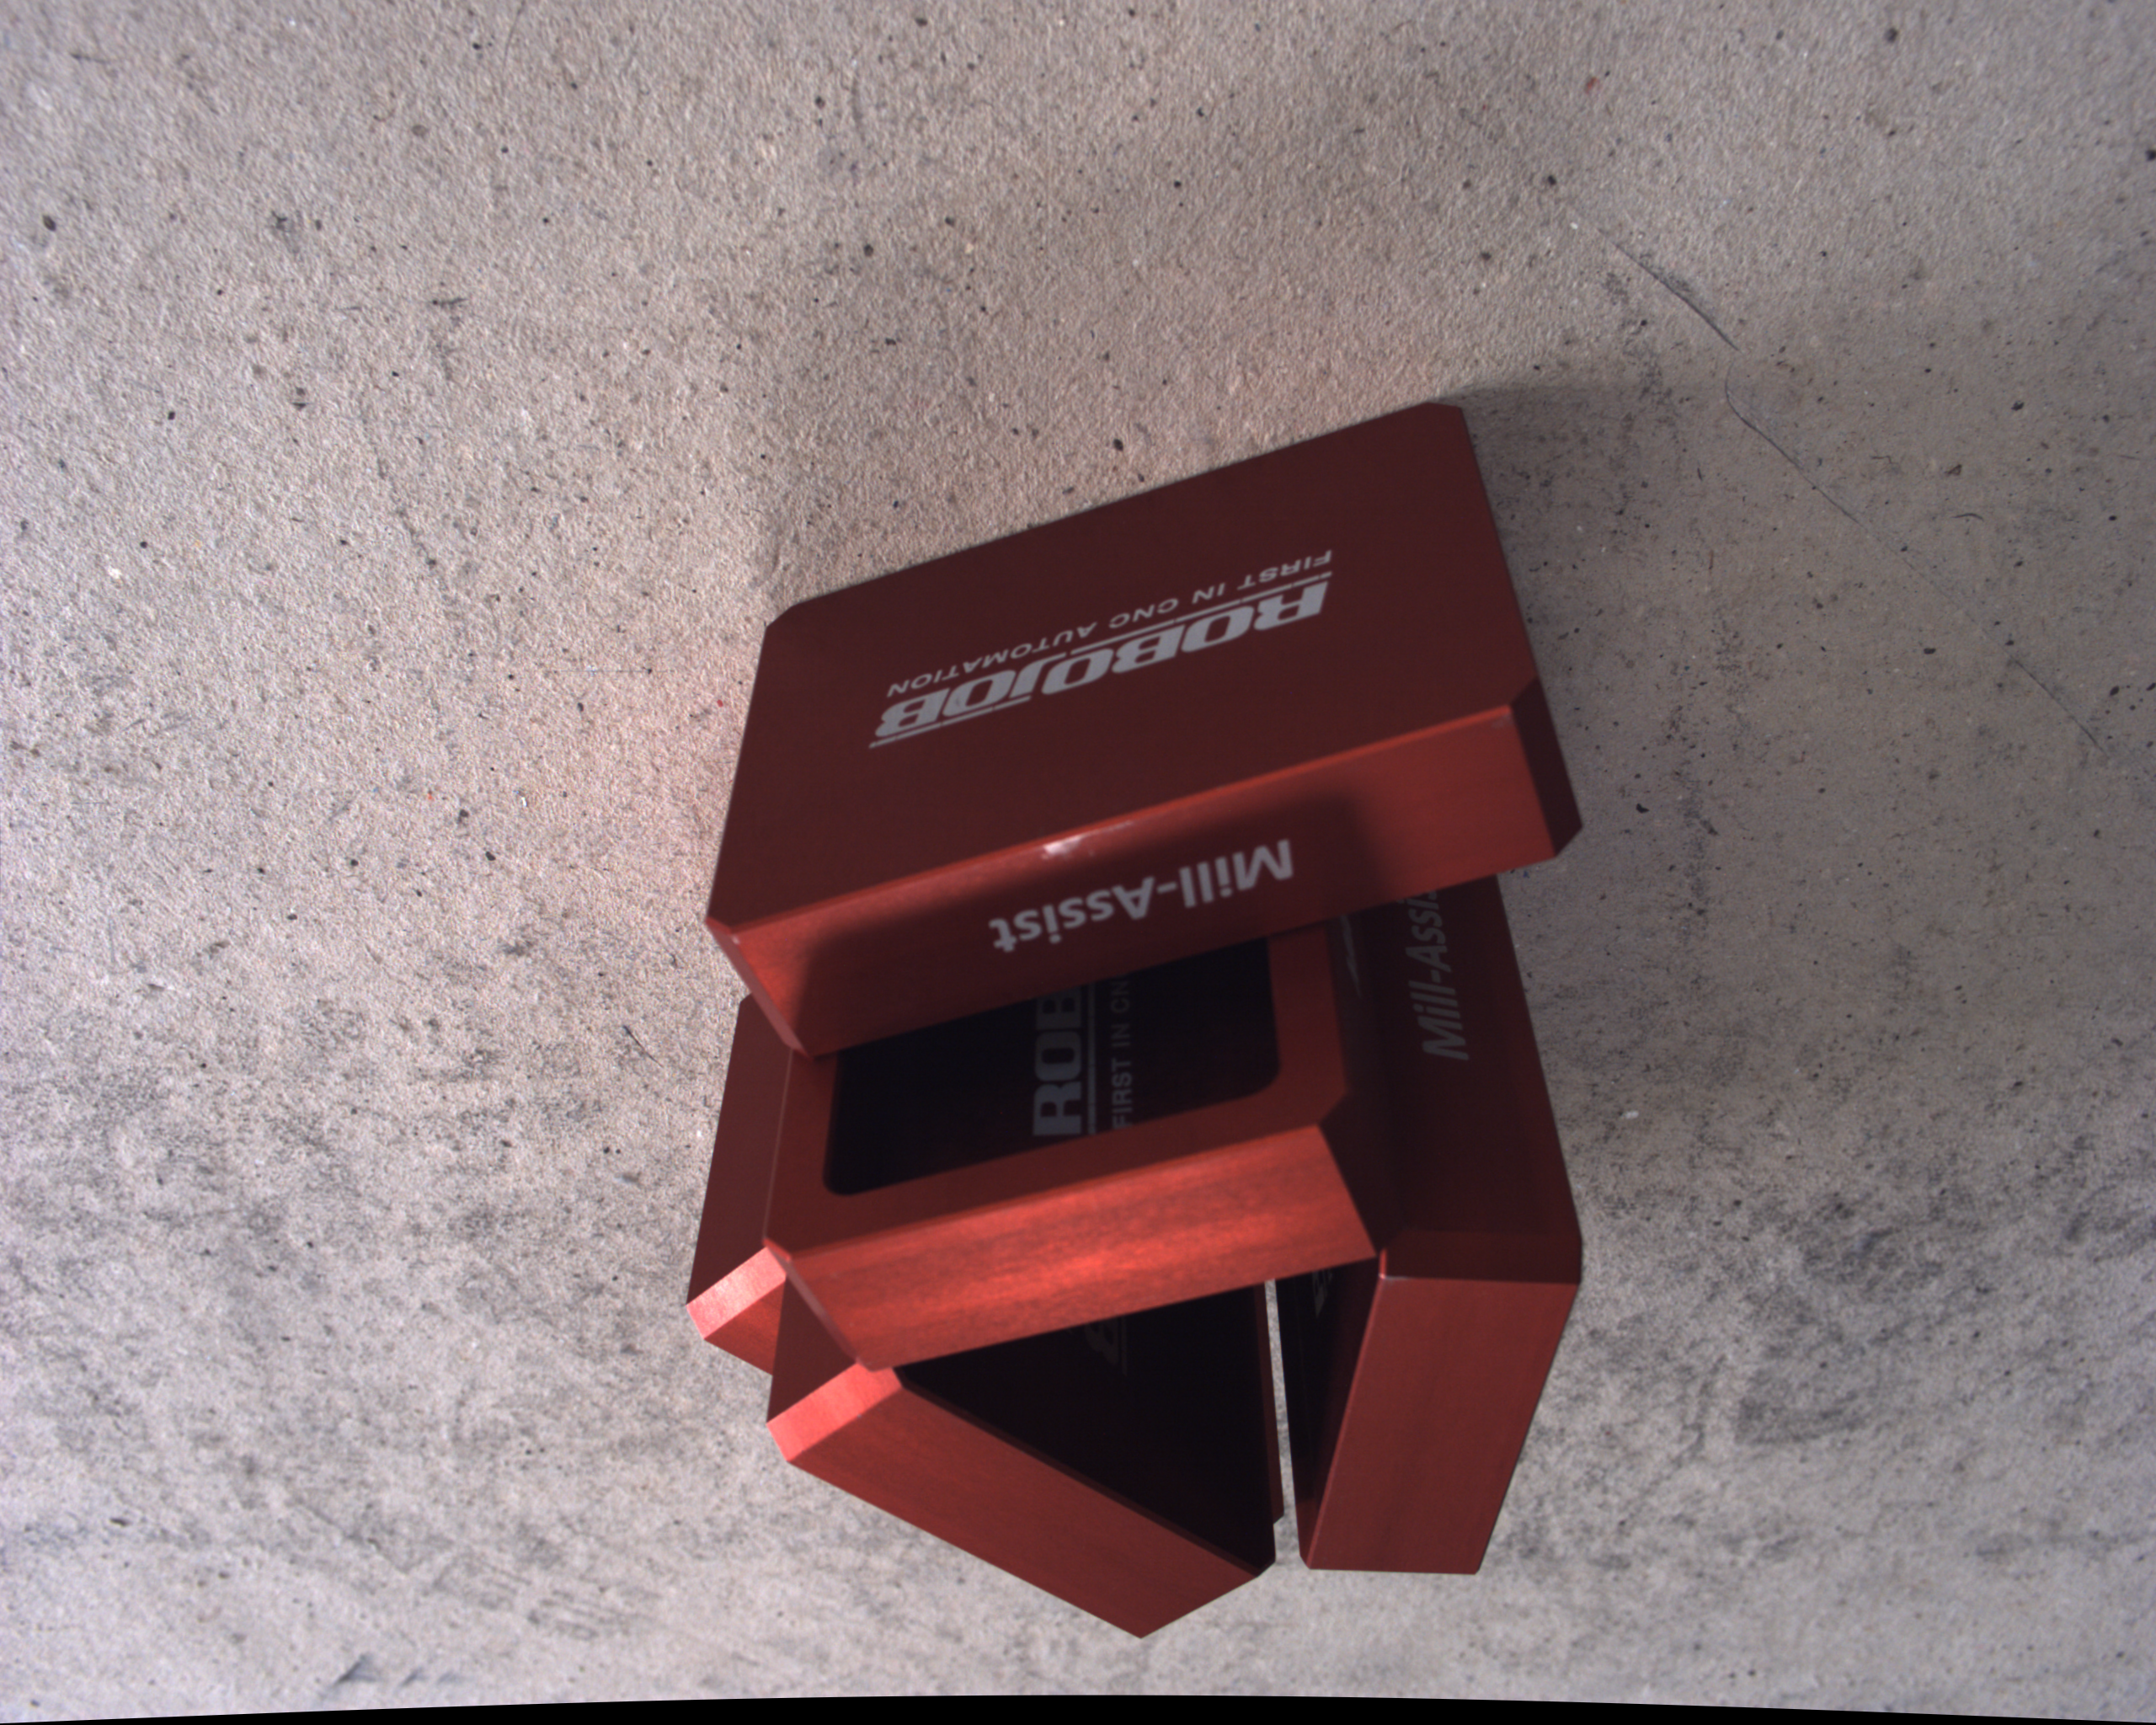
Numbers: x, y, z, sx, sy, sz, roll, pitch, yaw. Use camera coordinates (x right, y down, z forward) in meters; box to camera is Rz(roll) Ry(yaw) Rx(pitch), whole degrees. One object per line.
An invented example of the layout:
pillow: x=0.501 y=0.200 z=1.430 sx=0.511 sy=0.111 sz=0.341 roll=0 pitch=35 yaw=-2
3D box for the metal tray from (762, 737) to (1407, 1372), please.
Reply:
metal tray: x=0.001 y=0.016 z=0.352 sx=0.090 sy=0.130 sz=0.030 roll=-16 pitch=129 yaw=13

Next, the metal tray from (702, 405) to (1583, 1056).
metal tray: x=0.009 y=-0.024 z=0.345 sx=0.130 sy=0.090 sz=0.030 roll=-15 pitch=128 yaw=12

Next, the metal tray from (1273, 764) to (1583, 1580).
metal tray: x=0.057 y=0.051 z=0.383 sx=0.030 sy=0.130 sz=0.089 roll=4 pitch=130 yaw=-3

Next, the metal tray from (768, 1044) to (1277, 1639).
metal tray: x=-0.008 y=0.068 z=0.397 sx=0.090 sy=0.130 sz=0.030 roll=36 pitch=121 yaw=-26

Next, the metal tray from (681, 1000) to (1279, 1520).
metal tray: x=-0.016 y=0.083 z=0.435 sx=0.130 sy=0.090 sz=0.030 roll=36 pitch=122 yaw=-27
